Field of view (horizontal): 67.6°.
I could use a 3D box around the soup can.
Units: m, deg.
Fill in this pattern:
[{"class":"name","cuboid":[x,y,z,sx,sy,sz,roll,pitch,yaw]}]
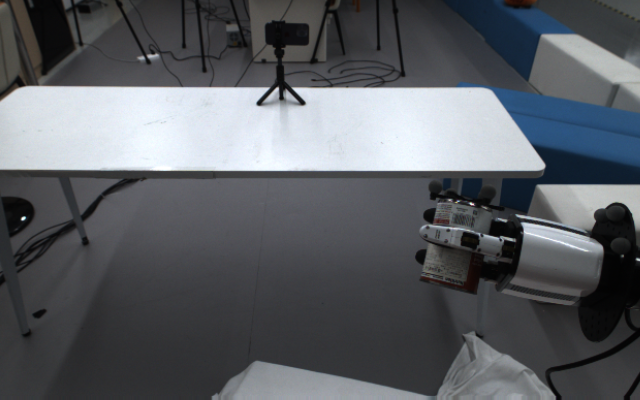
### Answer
[{"class":"soup can","cuboid":[0.165,0.052,0.582,0.067,0.101,0.067,14,-6,2]}]
